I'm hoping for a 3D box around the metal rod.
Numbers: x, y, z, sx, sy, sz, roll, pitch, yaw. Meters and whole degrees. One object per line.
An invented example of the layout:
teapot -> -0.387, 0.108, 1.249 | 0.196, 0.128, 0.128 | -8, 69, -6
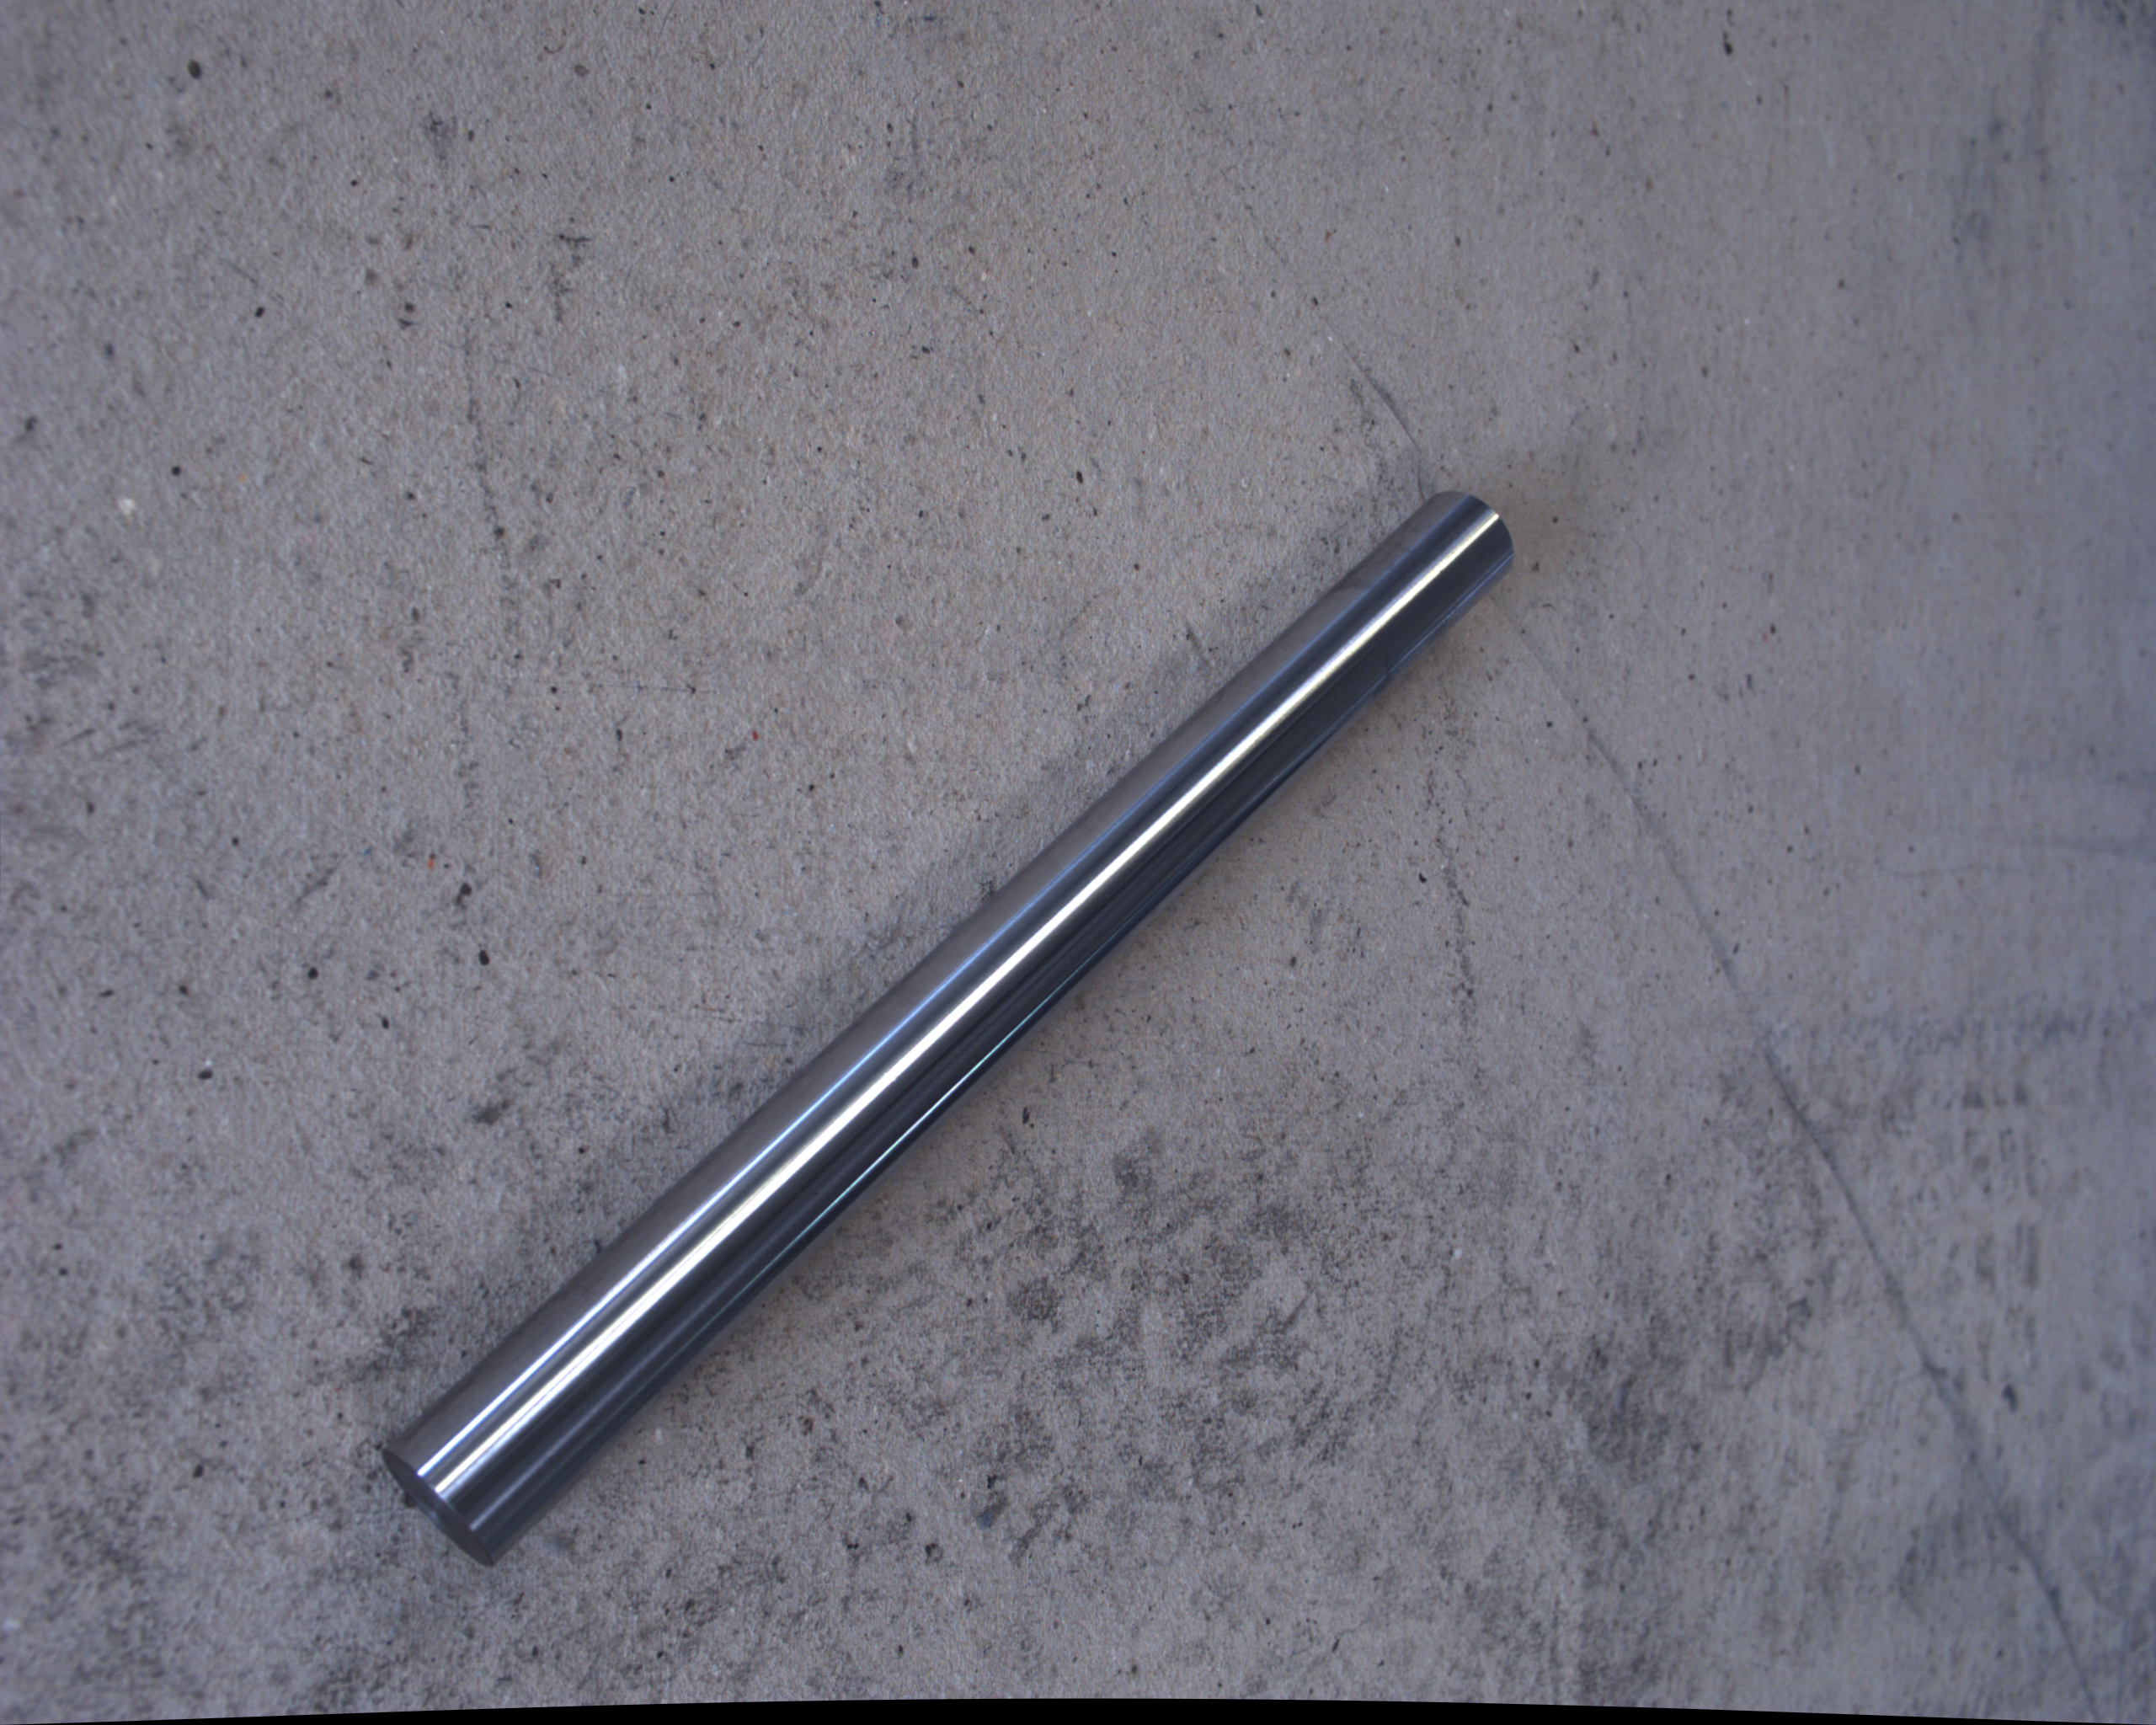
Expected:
metal rod -> -0.005, 0.013, 0.402 | 0.301, 0.025, 0.025 | -43, 116, -31
